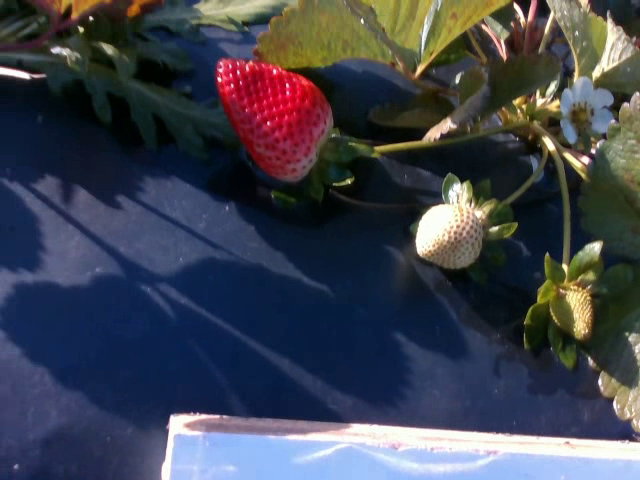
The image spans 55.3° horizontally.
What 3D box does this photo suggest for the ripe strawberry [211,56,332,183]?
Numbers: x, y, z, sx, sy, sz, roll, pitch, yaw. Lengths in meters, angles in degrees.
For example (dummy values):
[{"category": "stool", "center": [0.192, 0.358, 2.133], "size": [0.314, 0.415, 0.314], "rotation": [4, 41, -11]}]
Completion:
[{"category": "ripe strawberry", "center": [-0.017, -0.045, 0.213], "size": [0.053, 0.044, 0.036], "rotation": [35, -4, -20]}]
